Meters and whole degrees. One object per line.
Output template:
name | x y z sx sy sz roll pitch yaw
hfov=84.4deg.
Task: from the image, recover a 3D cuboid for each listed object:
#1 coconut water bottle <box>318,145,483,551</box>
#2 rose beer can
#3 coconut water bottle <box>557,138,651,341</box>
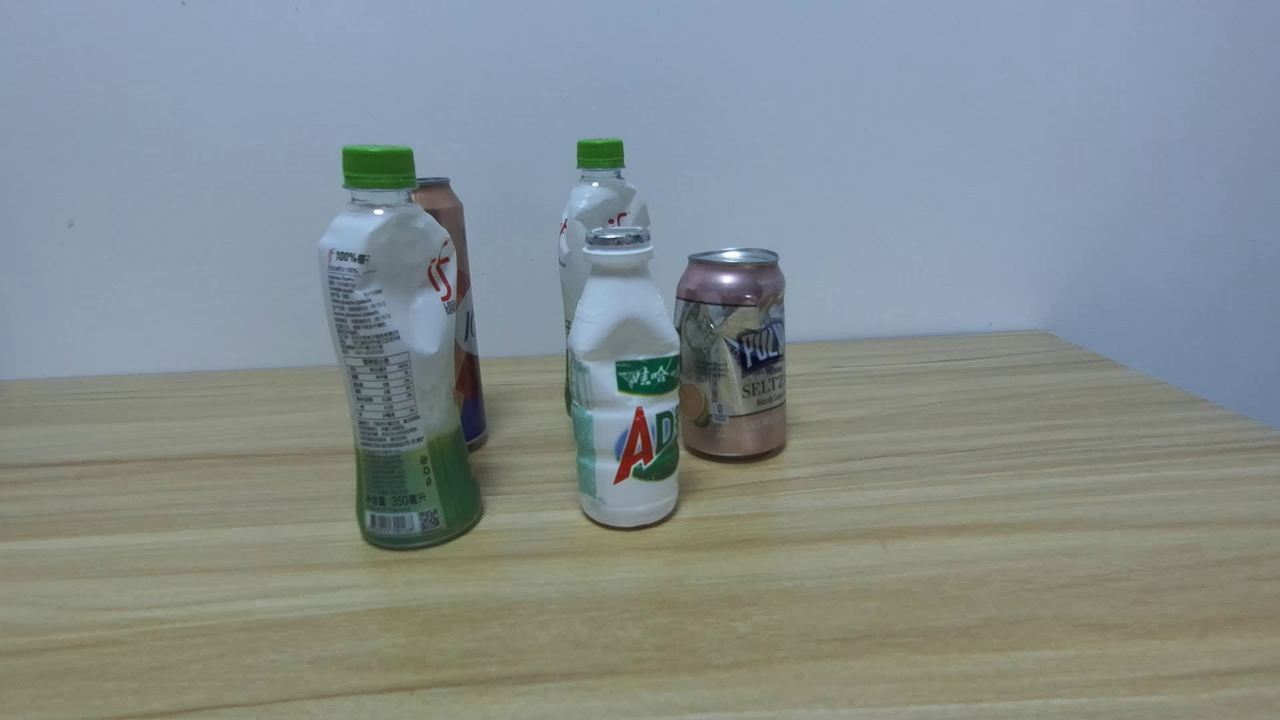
coconut water bottle | -0.117 -0.006 0.345 0.069 0.187 0.069 -1 14 1
rose beer can | -0.139 -0.024 0.454 0.068 0.169 0.068 -2 11 1
coconut water bottle | -0.024 -0.053 0.485 0.067 0.187 0.067 -1 12 0
